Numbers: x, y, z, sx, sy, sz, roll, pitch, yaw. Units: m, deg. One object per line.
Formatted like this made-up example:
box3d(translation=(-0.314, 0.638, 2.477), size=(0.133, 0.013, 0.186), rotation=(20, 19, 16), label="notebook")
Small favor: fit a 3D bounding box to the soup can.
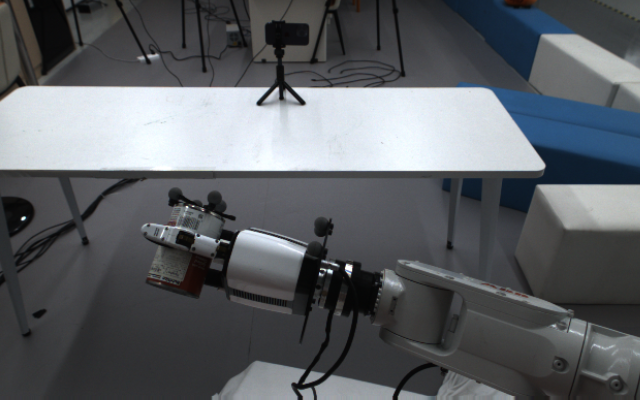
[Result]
box3d(translation=(-0.163, 0.064, 0.595), size=(0.067, 0.067, 0.101), rotation=(11, 72, 13), label="soup can")
